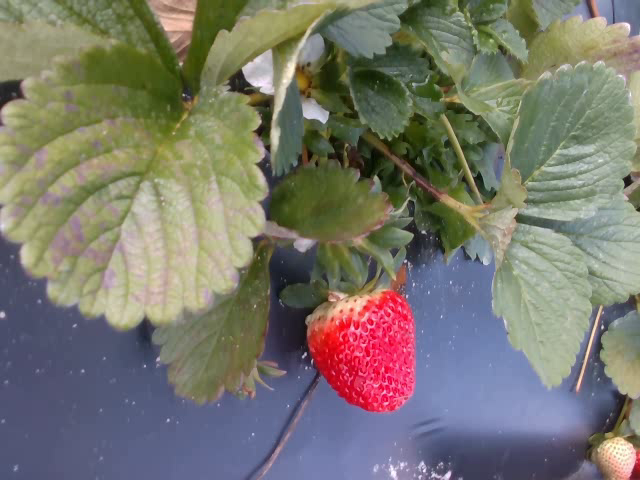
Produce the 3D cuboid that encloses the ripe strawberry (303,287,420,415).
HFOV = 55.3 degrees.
[{"bbox_3d":[0.019,0.049,0.249,0.050,0.053,0.049,12,-41,-42],"label":"ripe strawberry"}]
